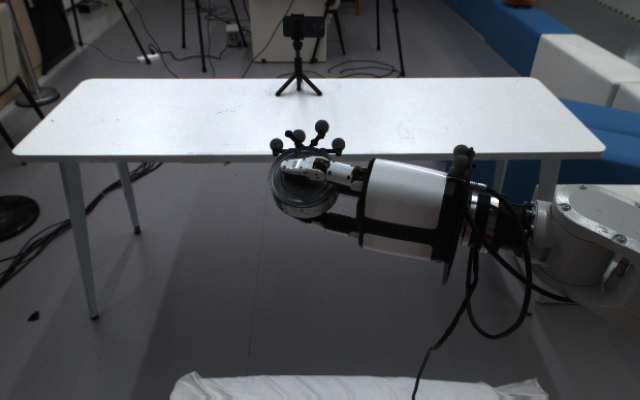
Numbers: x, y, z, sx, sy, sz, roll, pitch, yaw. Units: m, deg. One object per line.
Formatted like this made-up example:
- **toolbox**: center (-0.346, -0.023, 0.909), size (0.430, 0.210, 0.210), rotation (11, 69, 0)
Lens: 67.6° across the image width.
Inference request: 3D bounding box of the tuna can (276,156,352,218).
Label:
- **tuna can**: center (-0.016, -0.017, 0.588), size (0.085, 0.034, 0.085), rotation (-1, 58, 2)
